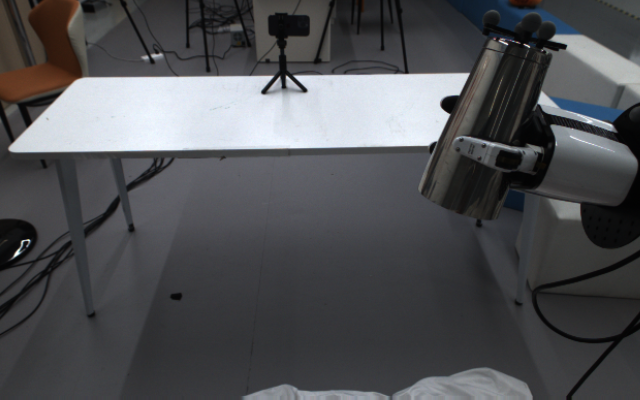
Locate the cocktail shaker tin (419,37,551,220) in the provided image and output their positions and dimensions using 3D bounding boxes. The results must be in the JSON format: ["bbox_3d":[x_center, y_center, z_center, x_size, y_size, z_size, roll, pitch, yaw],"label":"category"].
[{"bbox_3d":[0.177,-0.076,0.509,0.093,0.170,0.093,14,19,-5],"label":"cocktail shaker tin"}]
